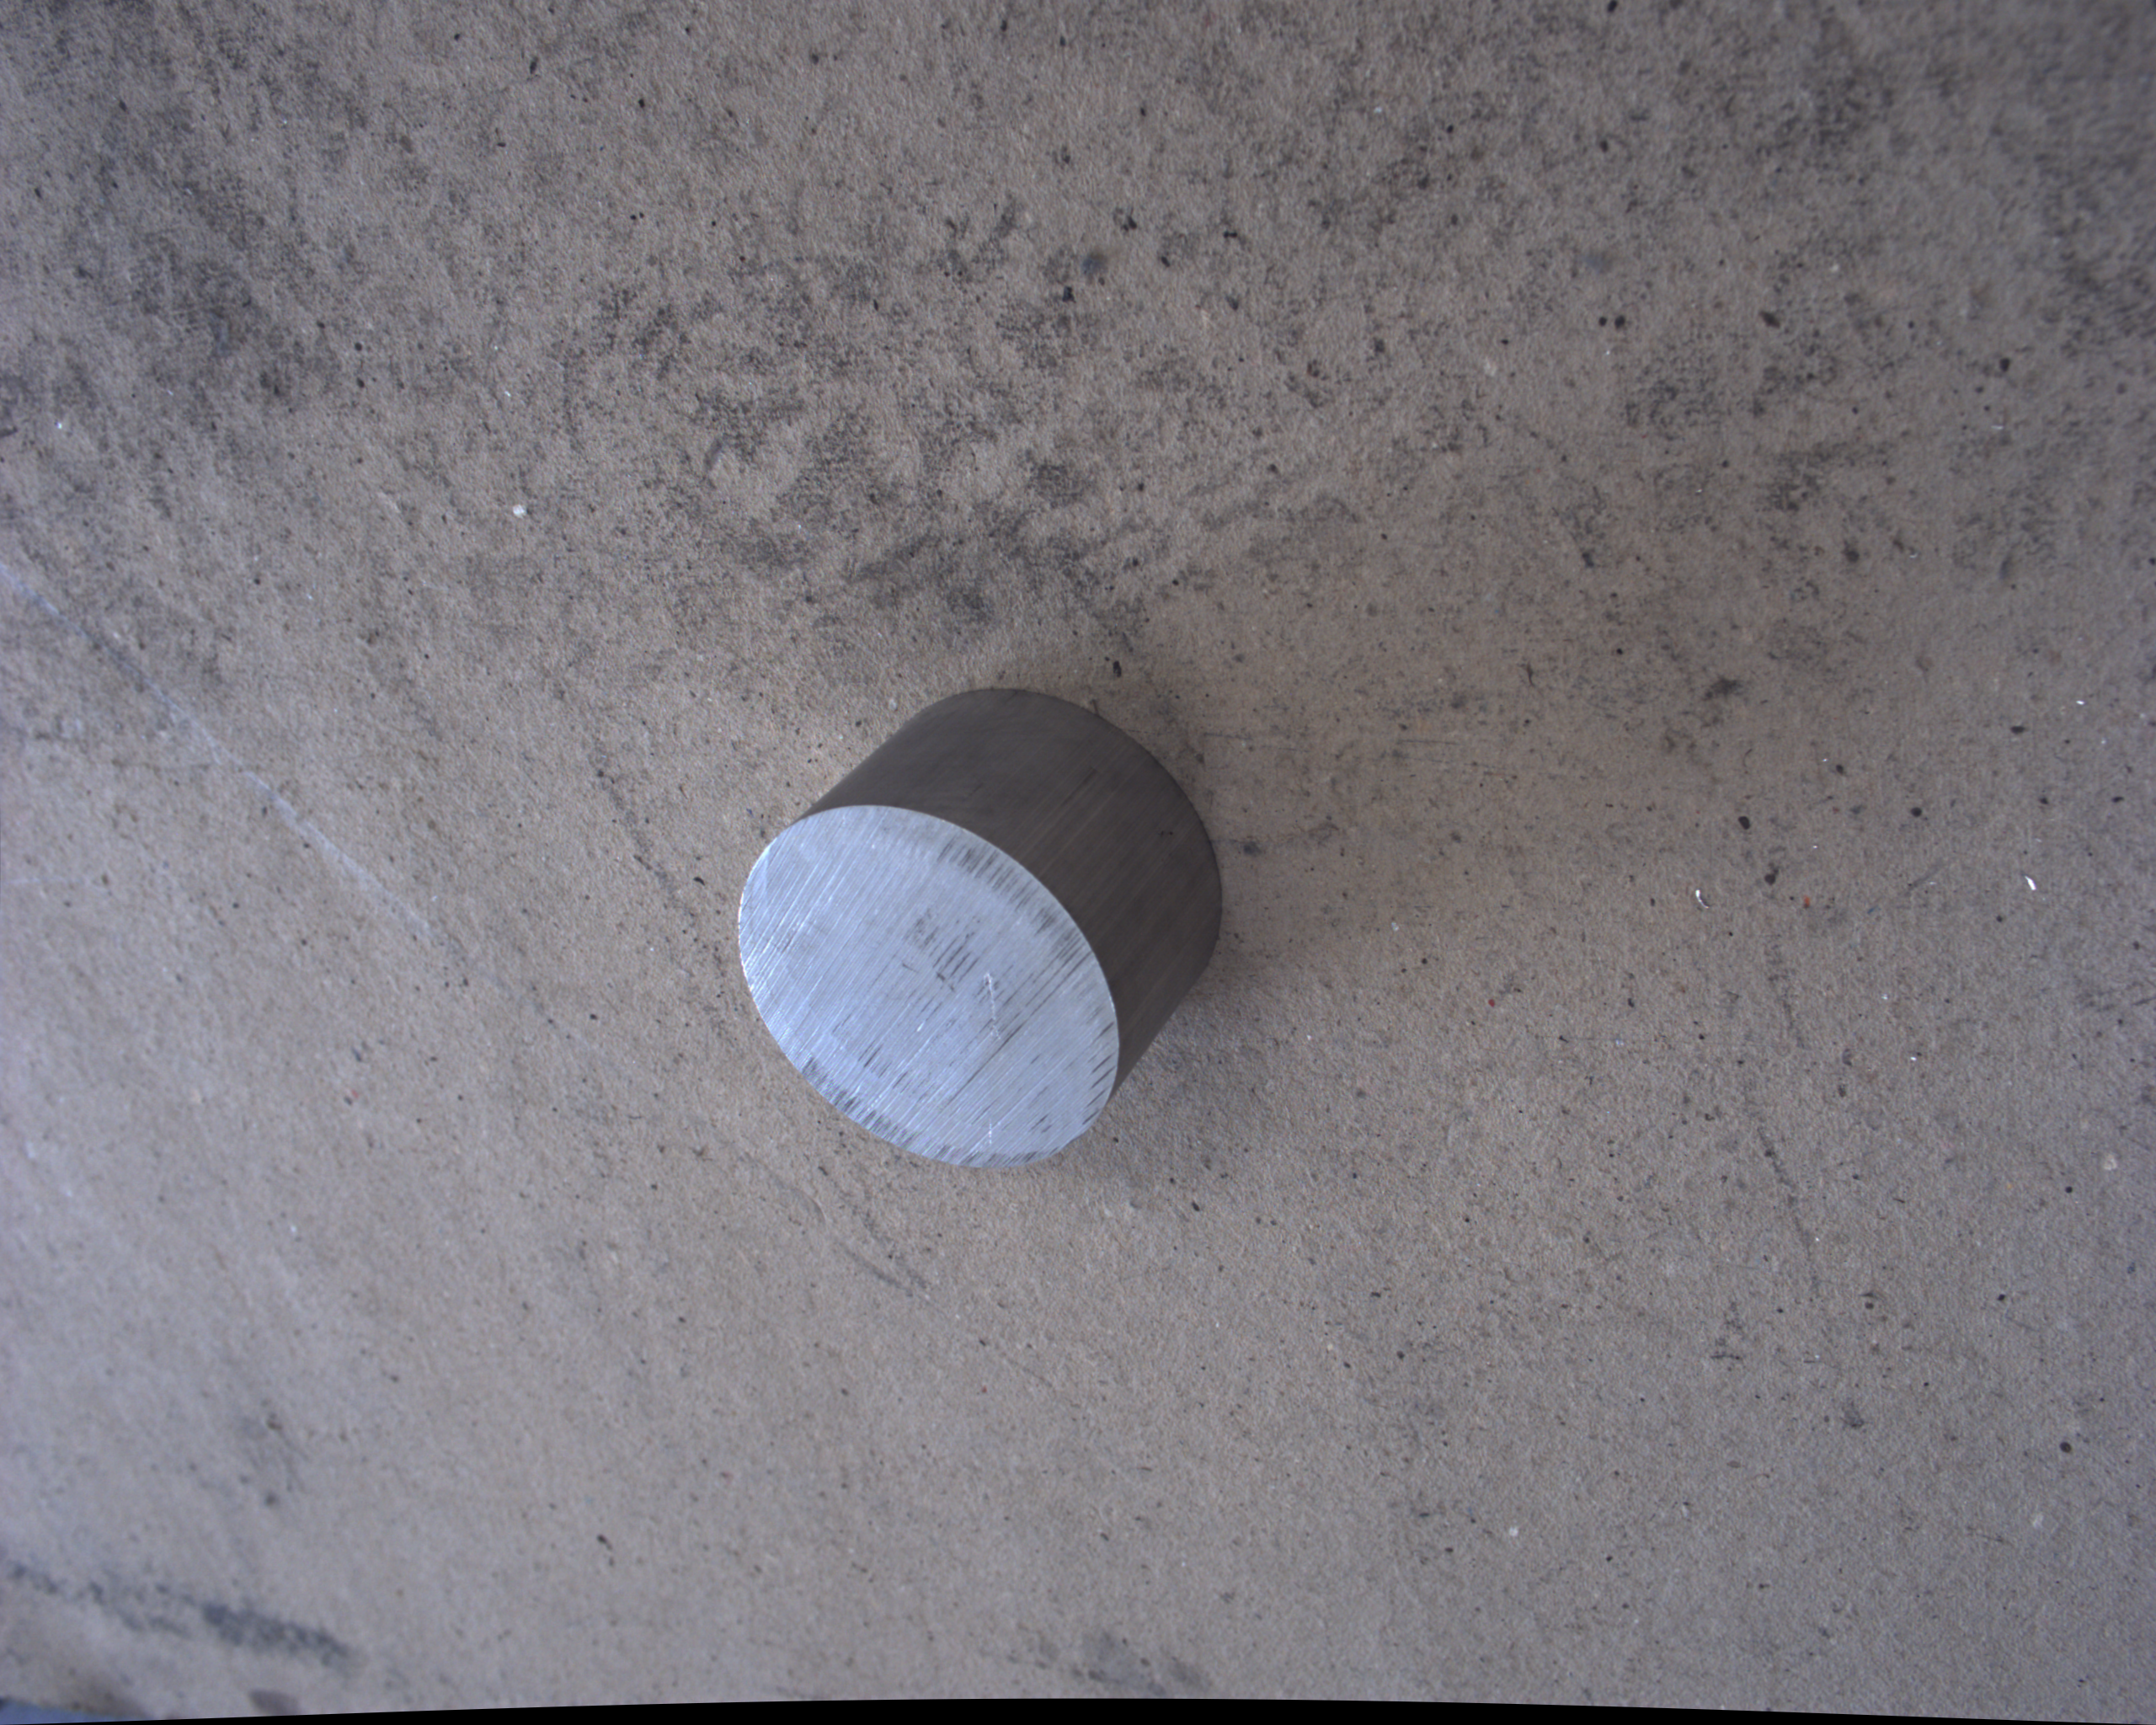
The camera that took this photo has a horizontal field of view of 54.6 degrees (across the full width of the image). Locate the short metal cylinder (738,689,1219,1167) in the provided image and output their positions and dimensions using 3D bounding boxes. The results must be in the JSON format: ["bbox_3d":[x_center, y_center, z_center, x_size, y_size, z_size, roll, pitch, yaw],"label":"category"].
[{"bbox_3d":[-0.019,0.013,0.411,0.080,0.050,0.080,13,124,20],"label":"short metal cylinder"}]
